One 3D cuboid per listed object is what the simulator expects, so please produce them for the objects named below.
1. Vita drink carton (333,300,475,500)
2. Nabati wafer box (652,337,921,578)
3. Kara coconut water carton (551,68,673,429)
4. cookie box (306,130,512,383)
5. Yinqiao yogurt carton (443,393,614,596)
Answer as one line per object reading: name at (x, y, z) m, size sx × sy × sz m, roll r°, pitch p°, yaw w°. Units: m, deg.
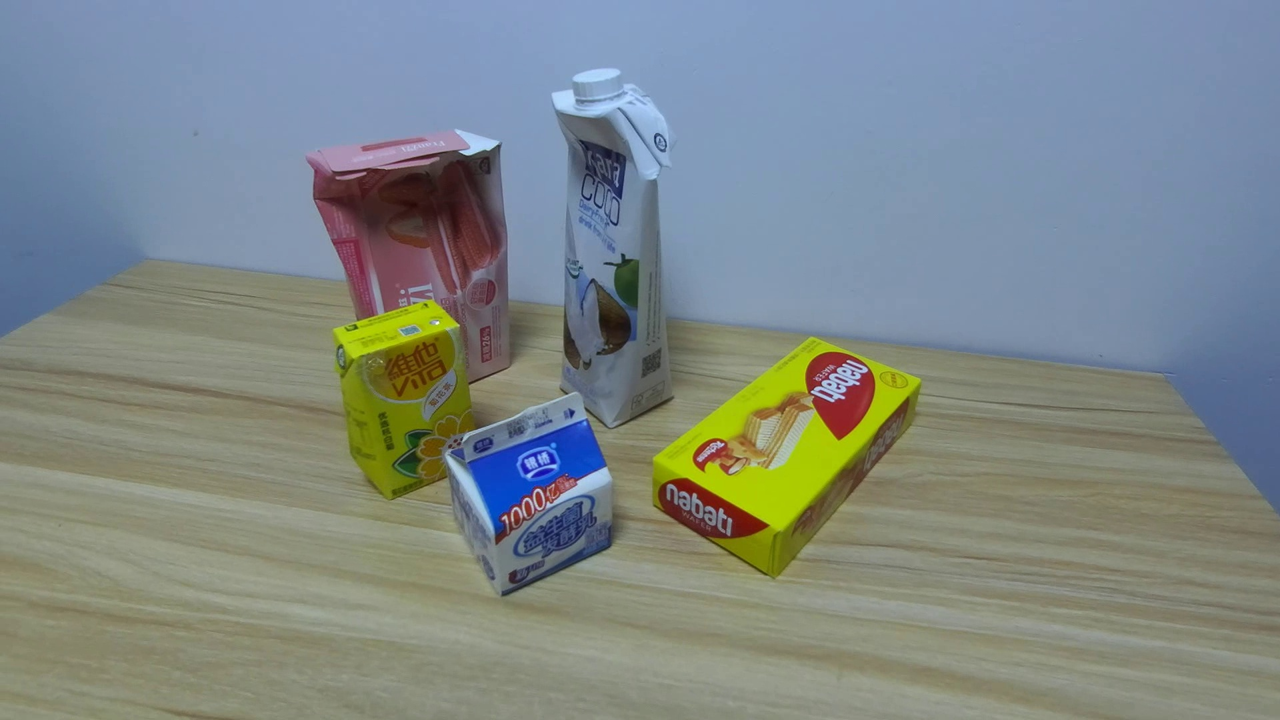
Vita drink carton at (-0.148, 0.026, 0.442) m, size 0.077 × 0.109 × 0.043 m, roll -22°, pitch 40°, yaw -32°
Nabati wafer box at (0.106, 0.053, 0.478) m, size 0.092 × 0.042 × 0.203 m, roll 26°, pitch 40°, yaw 32°
Kara coconut water carton at (-0.018, -0.072, 0.483) m, size 0.069 × 0.239 × 0.114 m, roll -23°, pitch 40°, yaw -32°
cookie box at (-0.155, -0.062, 0.509) m, size 0.119 × 0.184 × 0.055 m, roll -21°, pitch 41°, yaw -30°
Yinqiao yogurt carton at (-0.064, 0.066, 0.403) m, size 0.076 × 0.092 × 0.073 m, roll -19°, pitch 40°, yaw -26°
